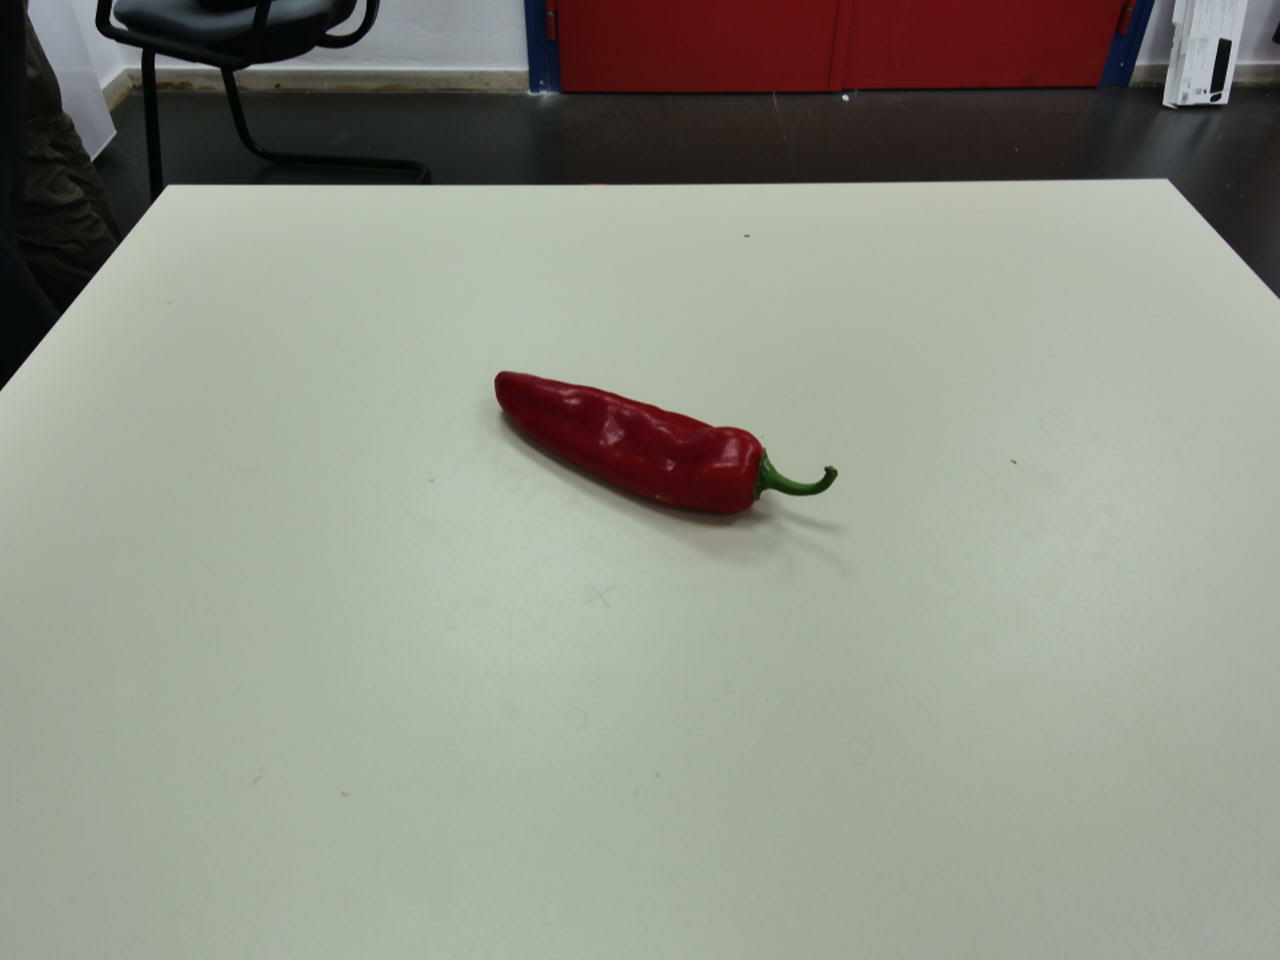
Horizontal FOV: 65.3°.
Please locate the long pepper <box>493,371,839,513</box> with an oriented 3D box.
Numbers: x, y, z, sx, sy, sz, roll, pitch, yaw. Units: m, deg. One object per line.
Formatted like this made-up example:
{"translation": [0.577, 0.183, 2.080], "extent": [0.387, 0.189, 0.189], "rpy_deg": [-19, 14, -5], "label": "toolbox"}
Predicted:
{"translation": [0.001, -0.021, 0.535], "extent": [0.211, 0.043, 0.050], "rpy_deg": [21, 44, 25], "label": "long pepper"}
